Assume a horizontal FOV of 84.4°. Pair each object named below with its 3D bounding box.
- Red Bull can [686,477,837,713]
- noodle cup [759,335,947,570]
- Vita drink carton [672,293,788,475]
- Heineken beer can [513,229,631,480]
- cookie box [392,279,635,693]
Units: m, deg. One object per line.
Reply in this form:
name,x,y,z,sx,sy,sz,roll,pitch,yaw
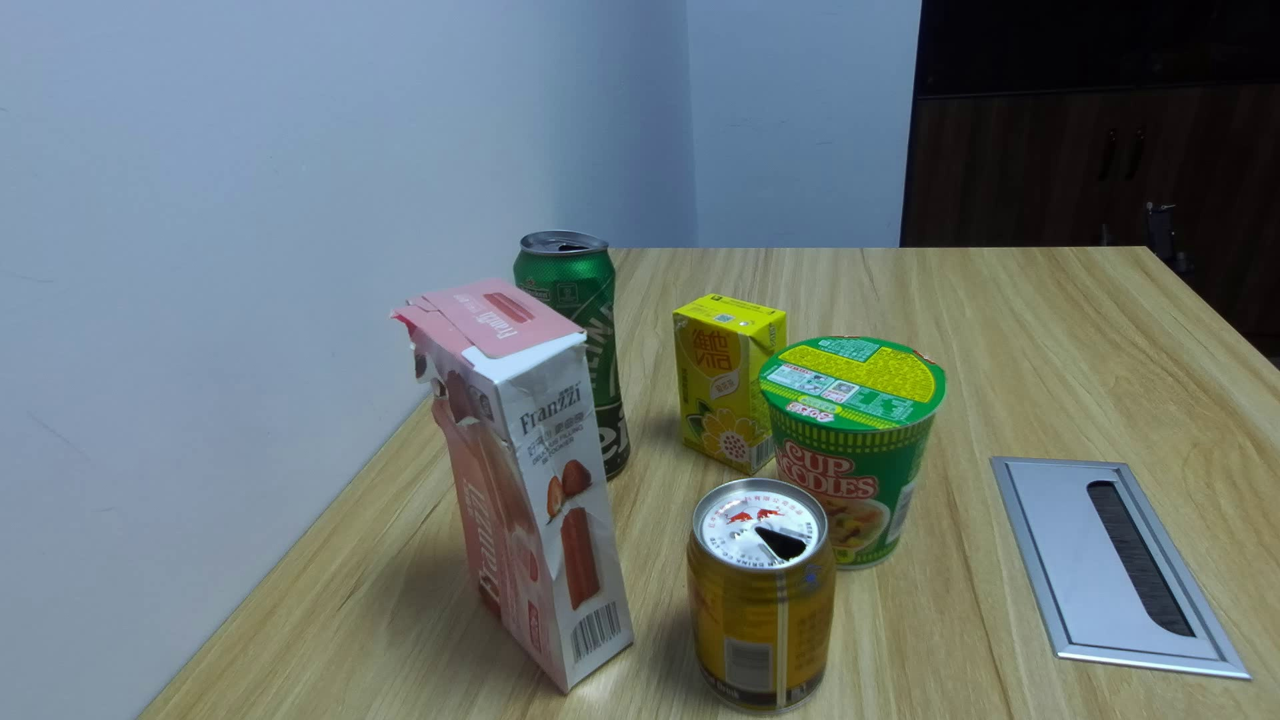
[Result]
Red Bull can,0.058,0.114,0.340,0.068,0.093,0.068,-4,26,2
noodle cup,0.117,0.056,0.399,0.097,0.110,0.097,-5,29,3
Vita drink carton,0.059,0.014,0.485,0.043,0.109,0.076,-29,37,-36
Heineken beer can,-0.042,0.001,0.473,0.069,0.168,0.068,2,26,10
cookie box,-0.058,0.065,0.348,0.059,0.186,0.104,-22,29,-31
